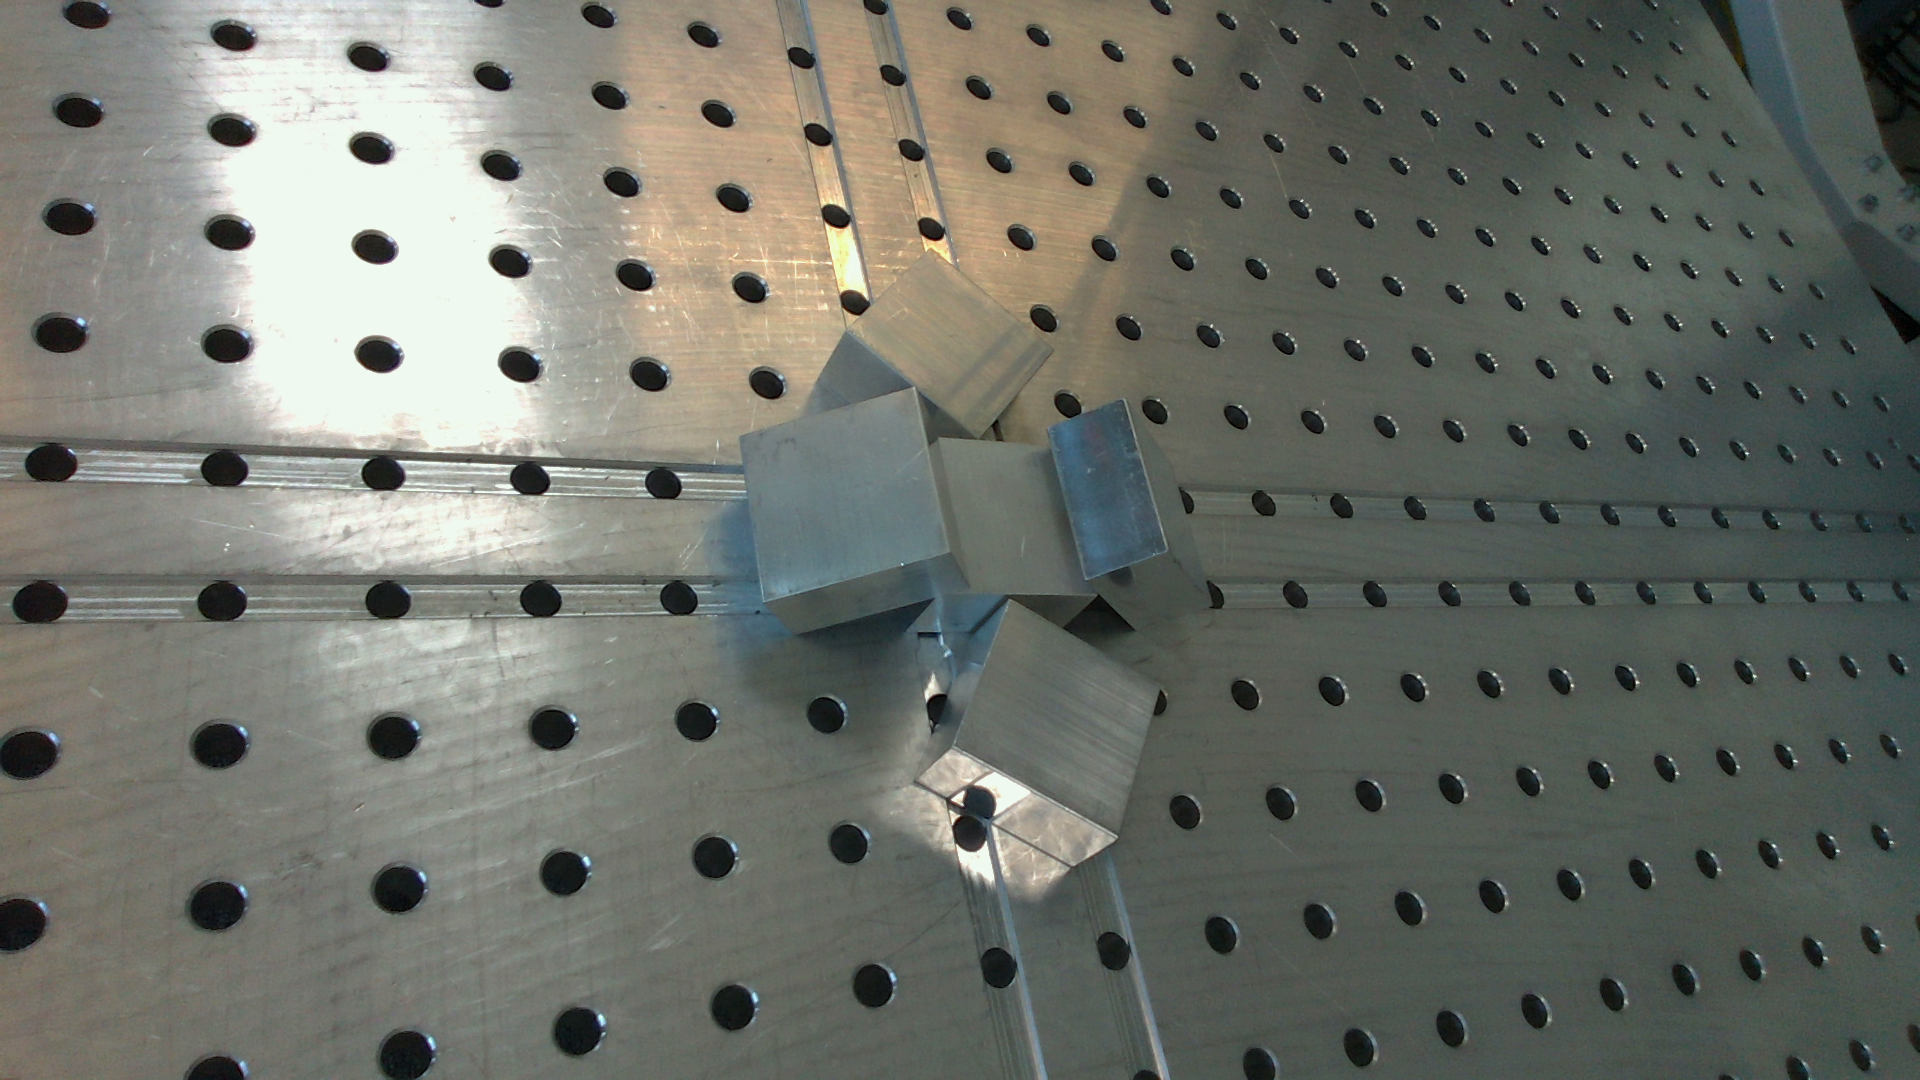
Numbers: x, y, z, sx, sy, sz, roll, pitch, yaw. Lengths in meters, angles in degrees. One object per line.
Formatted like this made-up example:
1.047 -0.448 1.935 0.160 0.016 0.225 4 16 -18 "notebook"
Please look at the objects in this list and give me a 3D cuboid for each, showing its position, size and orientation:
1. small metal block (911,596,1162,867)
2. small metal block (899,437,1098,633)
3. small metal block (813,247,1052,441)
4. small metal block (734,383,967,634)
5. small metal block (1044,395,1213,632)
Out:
0.022 0.052 0.372 0.050 0.025 0.050 29 52 -8 "small metal block"
0.006 -0.001 0.396 0.050 0.025 0.050 2 60 -28 "small metal block"
-0.008 -0.054 0.422 0.050 0.025 0.050 39 50 -1 "small metal block"
-0.029 -0.008 0.365 0.050 0.025 0.050 -14 65 6 "small metal block"
0.050 -0.007 0.406 0.050 0.025 0.050 40 34 -58 "small metal block"
